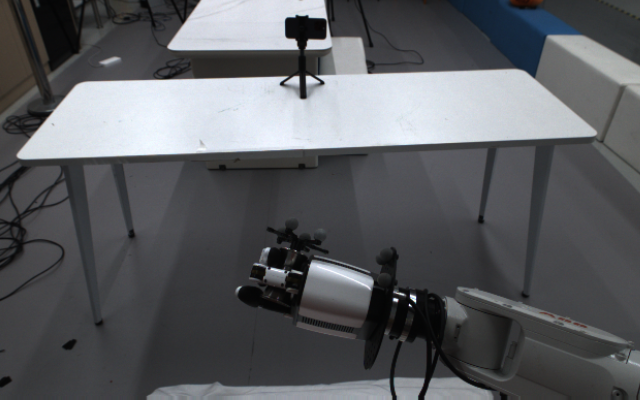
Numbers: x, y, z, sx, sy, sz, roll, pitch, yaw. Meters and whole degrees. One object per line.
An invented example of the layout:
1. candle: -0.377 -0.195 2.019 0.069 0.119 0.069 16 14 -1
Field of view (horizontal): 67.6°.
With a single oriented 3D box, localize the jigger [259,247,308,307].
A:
1. jigger: -0.045 0.099 0.630 0.043 0.043 0.071 15 70 18
